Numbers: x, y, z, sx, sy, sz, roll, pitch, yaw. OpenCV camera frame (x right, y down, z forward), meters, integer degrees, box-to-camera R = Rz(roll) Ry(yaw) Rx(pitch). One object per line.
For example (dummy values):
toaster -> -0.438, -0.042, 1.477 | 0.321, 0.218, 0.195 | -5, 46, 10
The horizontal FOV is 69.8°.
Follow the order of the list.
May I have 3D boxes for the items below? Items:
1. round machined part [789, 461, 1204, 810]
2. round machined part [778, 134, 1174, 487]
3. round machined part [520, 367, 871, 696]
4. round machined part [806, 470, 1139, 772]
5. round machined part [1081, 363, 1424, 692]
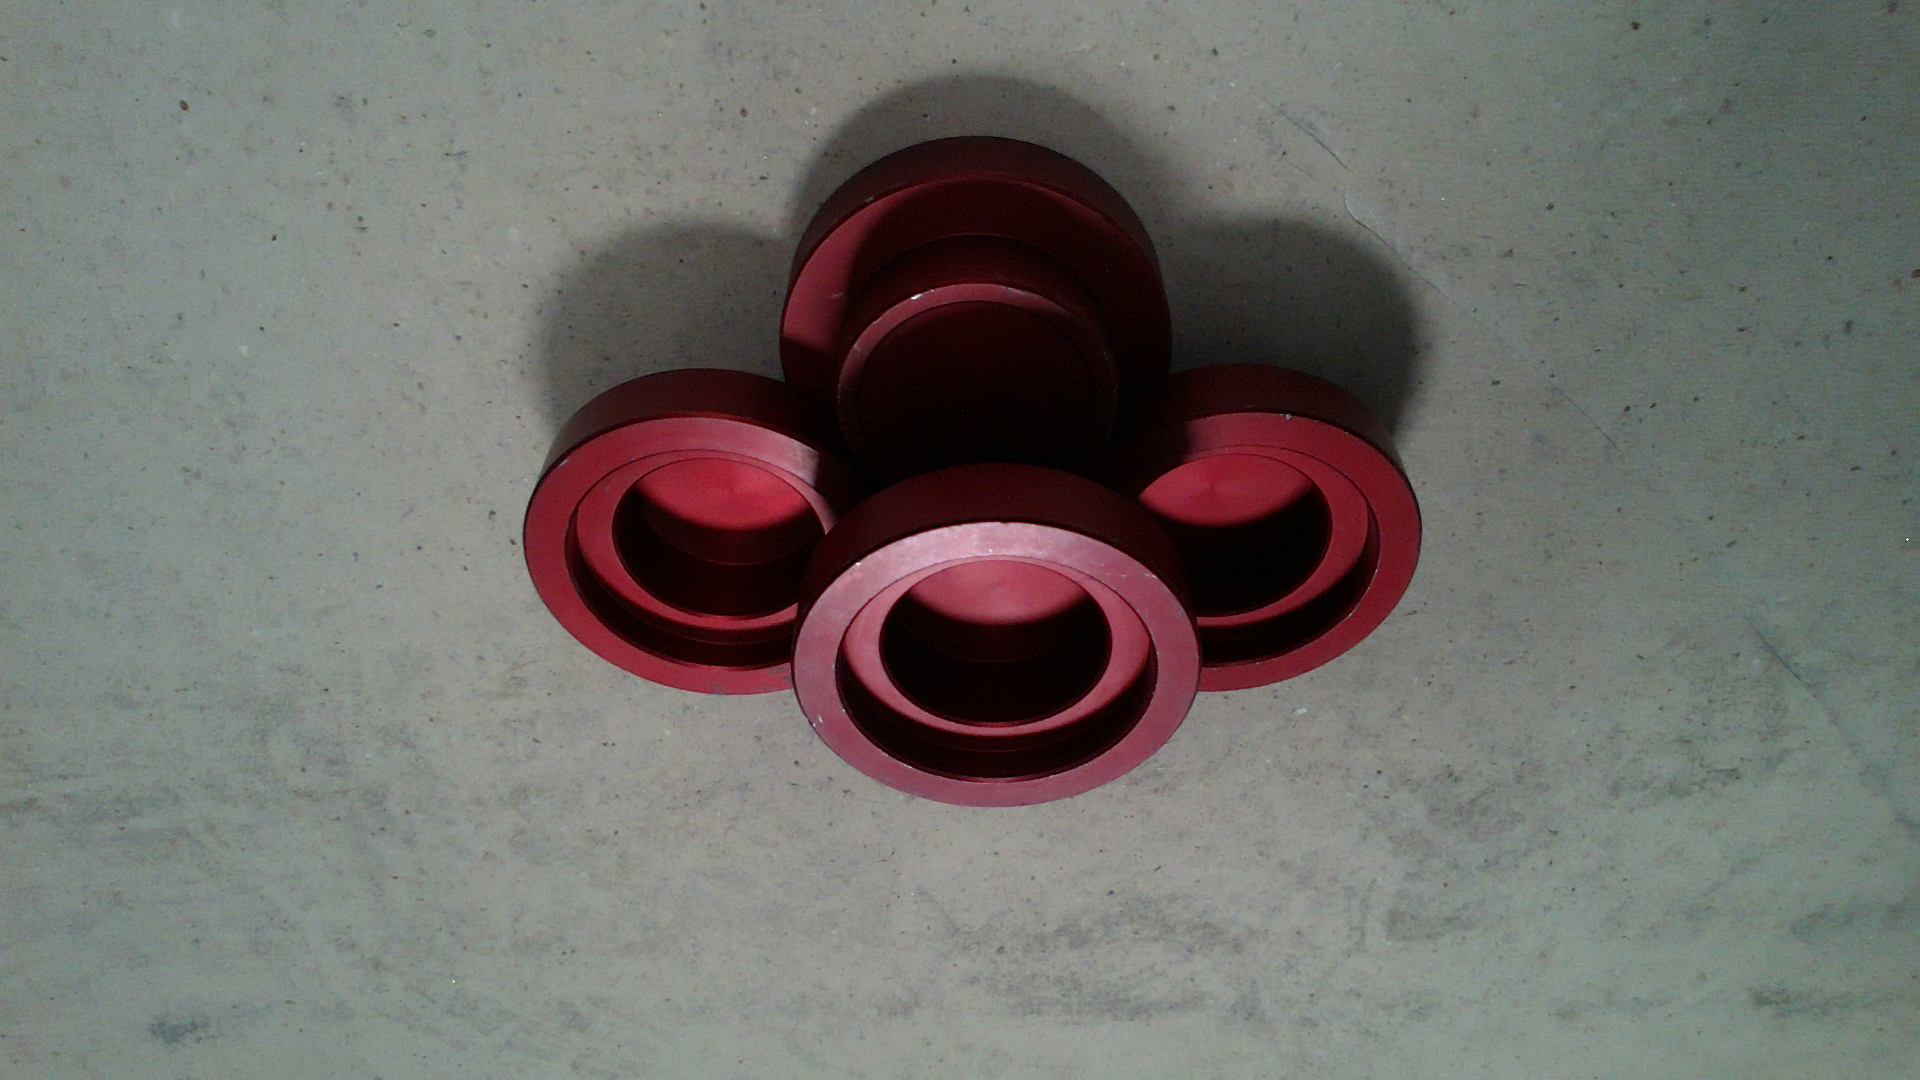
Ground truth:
round machined part -> 0.009, 0.020, 0.341 | 0.098, 0.042, 0.098 | 0, 130, 0
round machined part -> 0.004, -0.045, 0.341 | 0.098, 0.042, 0.098 | 0, 130, 0
round machined part -> -0.065, -0.006, 0.374 | 0.098, 0.042, 0.098 | 0, 130, 0
round machined part -> 0.004, 0.031, 0.405 | 0.098, 0.042, 0.098 | 0, 130, 0
round machined part -> 0.071, -0.007, 0.374 | 0.098, 0.042, 0.098 | 0, 130, 0
